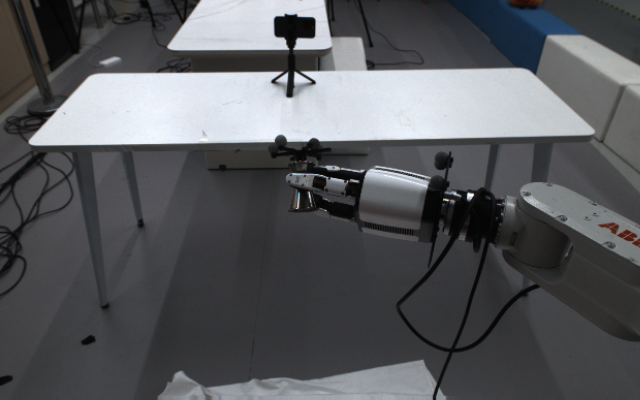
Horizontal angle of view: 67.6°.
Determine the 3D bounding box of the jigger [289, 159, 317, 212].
[{"bbox_3d":[-0.026,-0.019,0.689,0.043,0.071,0.043,-2,-7,0],"label":"jigger"}]
